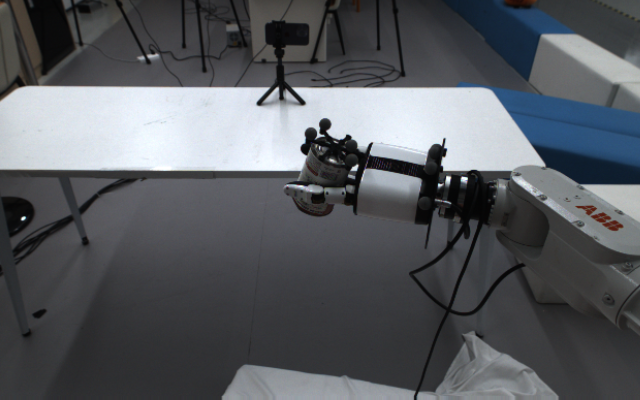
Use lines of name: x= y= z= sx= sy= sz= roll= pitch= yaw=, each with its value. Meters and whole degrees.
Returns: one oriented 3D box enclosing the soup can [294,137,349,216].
soup can: x=0.004 y=-0.033 z=0.717 sx=0.067 sy=0.101 sz=0.067 roll=14 pitch=39 yaw=-12
